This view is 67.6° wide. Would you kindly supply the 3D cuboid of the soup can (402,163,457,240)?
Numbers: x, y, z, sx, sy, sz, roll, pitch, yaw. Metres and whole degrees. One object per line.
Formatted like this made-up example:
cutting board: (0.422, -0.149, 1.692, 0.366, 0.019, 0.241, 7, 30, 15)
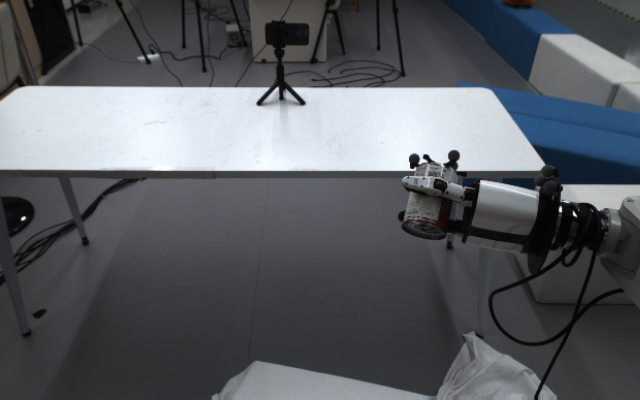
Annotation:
soup can: (0.169, 0.000, 0.741, 0.067, 0.067, 0.101, 12, 71, 14)
